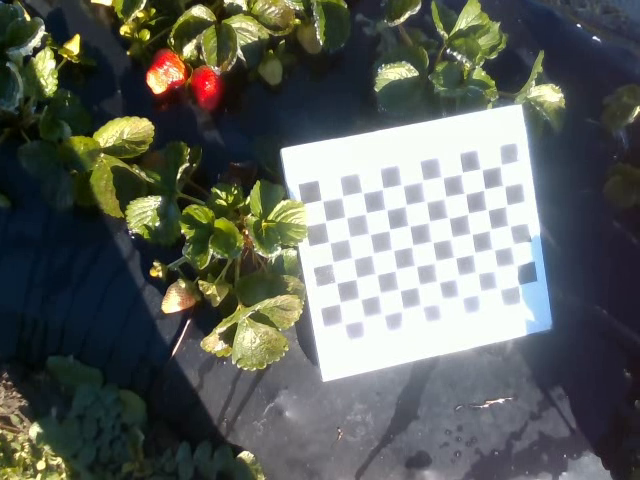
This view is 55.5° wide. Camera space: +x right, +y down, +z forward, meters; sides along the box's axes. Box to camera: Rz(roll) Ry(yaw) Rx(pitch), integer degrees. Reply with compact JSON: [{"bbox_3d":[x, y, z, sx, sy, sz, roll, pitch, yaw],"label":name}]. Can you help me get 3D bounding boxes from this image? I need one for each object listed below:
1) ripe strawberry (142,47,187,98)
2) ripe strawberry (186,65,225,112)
[{"bbox_3d":[-0.202,-0.215,0.794,0.052,0.070,0.040,36,-8,-15],"label":"ripe strawberry"},{"bbox_3d":[-0.150,-0.201,0.792,0.043,0.059,0.040,-11,1,-6],"label":"ripe strawberry"}]
